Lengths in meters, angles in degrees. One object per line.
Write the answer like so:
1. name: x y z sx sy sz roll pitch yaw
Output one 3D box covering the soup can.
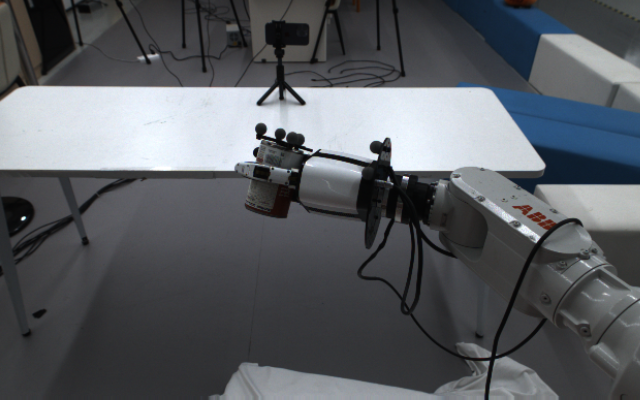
1. soup can: -0.068 -0.030 0.716 0.067 0.101 0.067 15 7 -2
